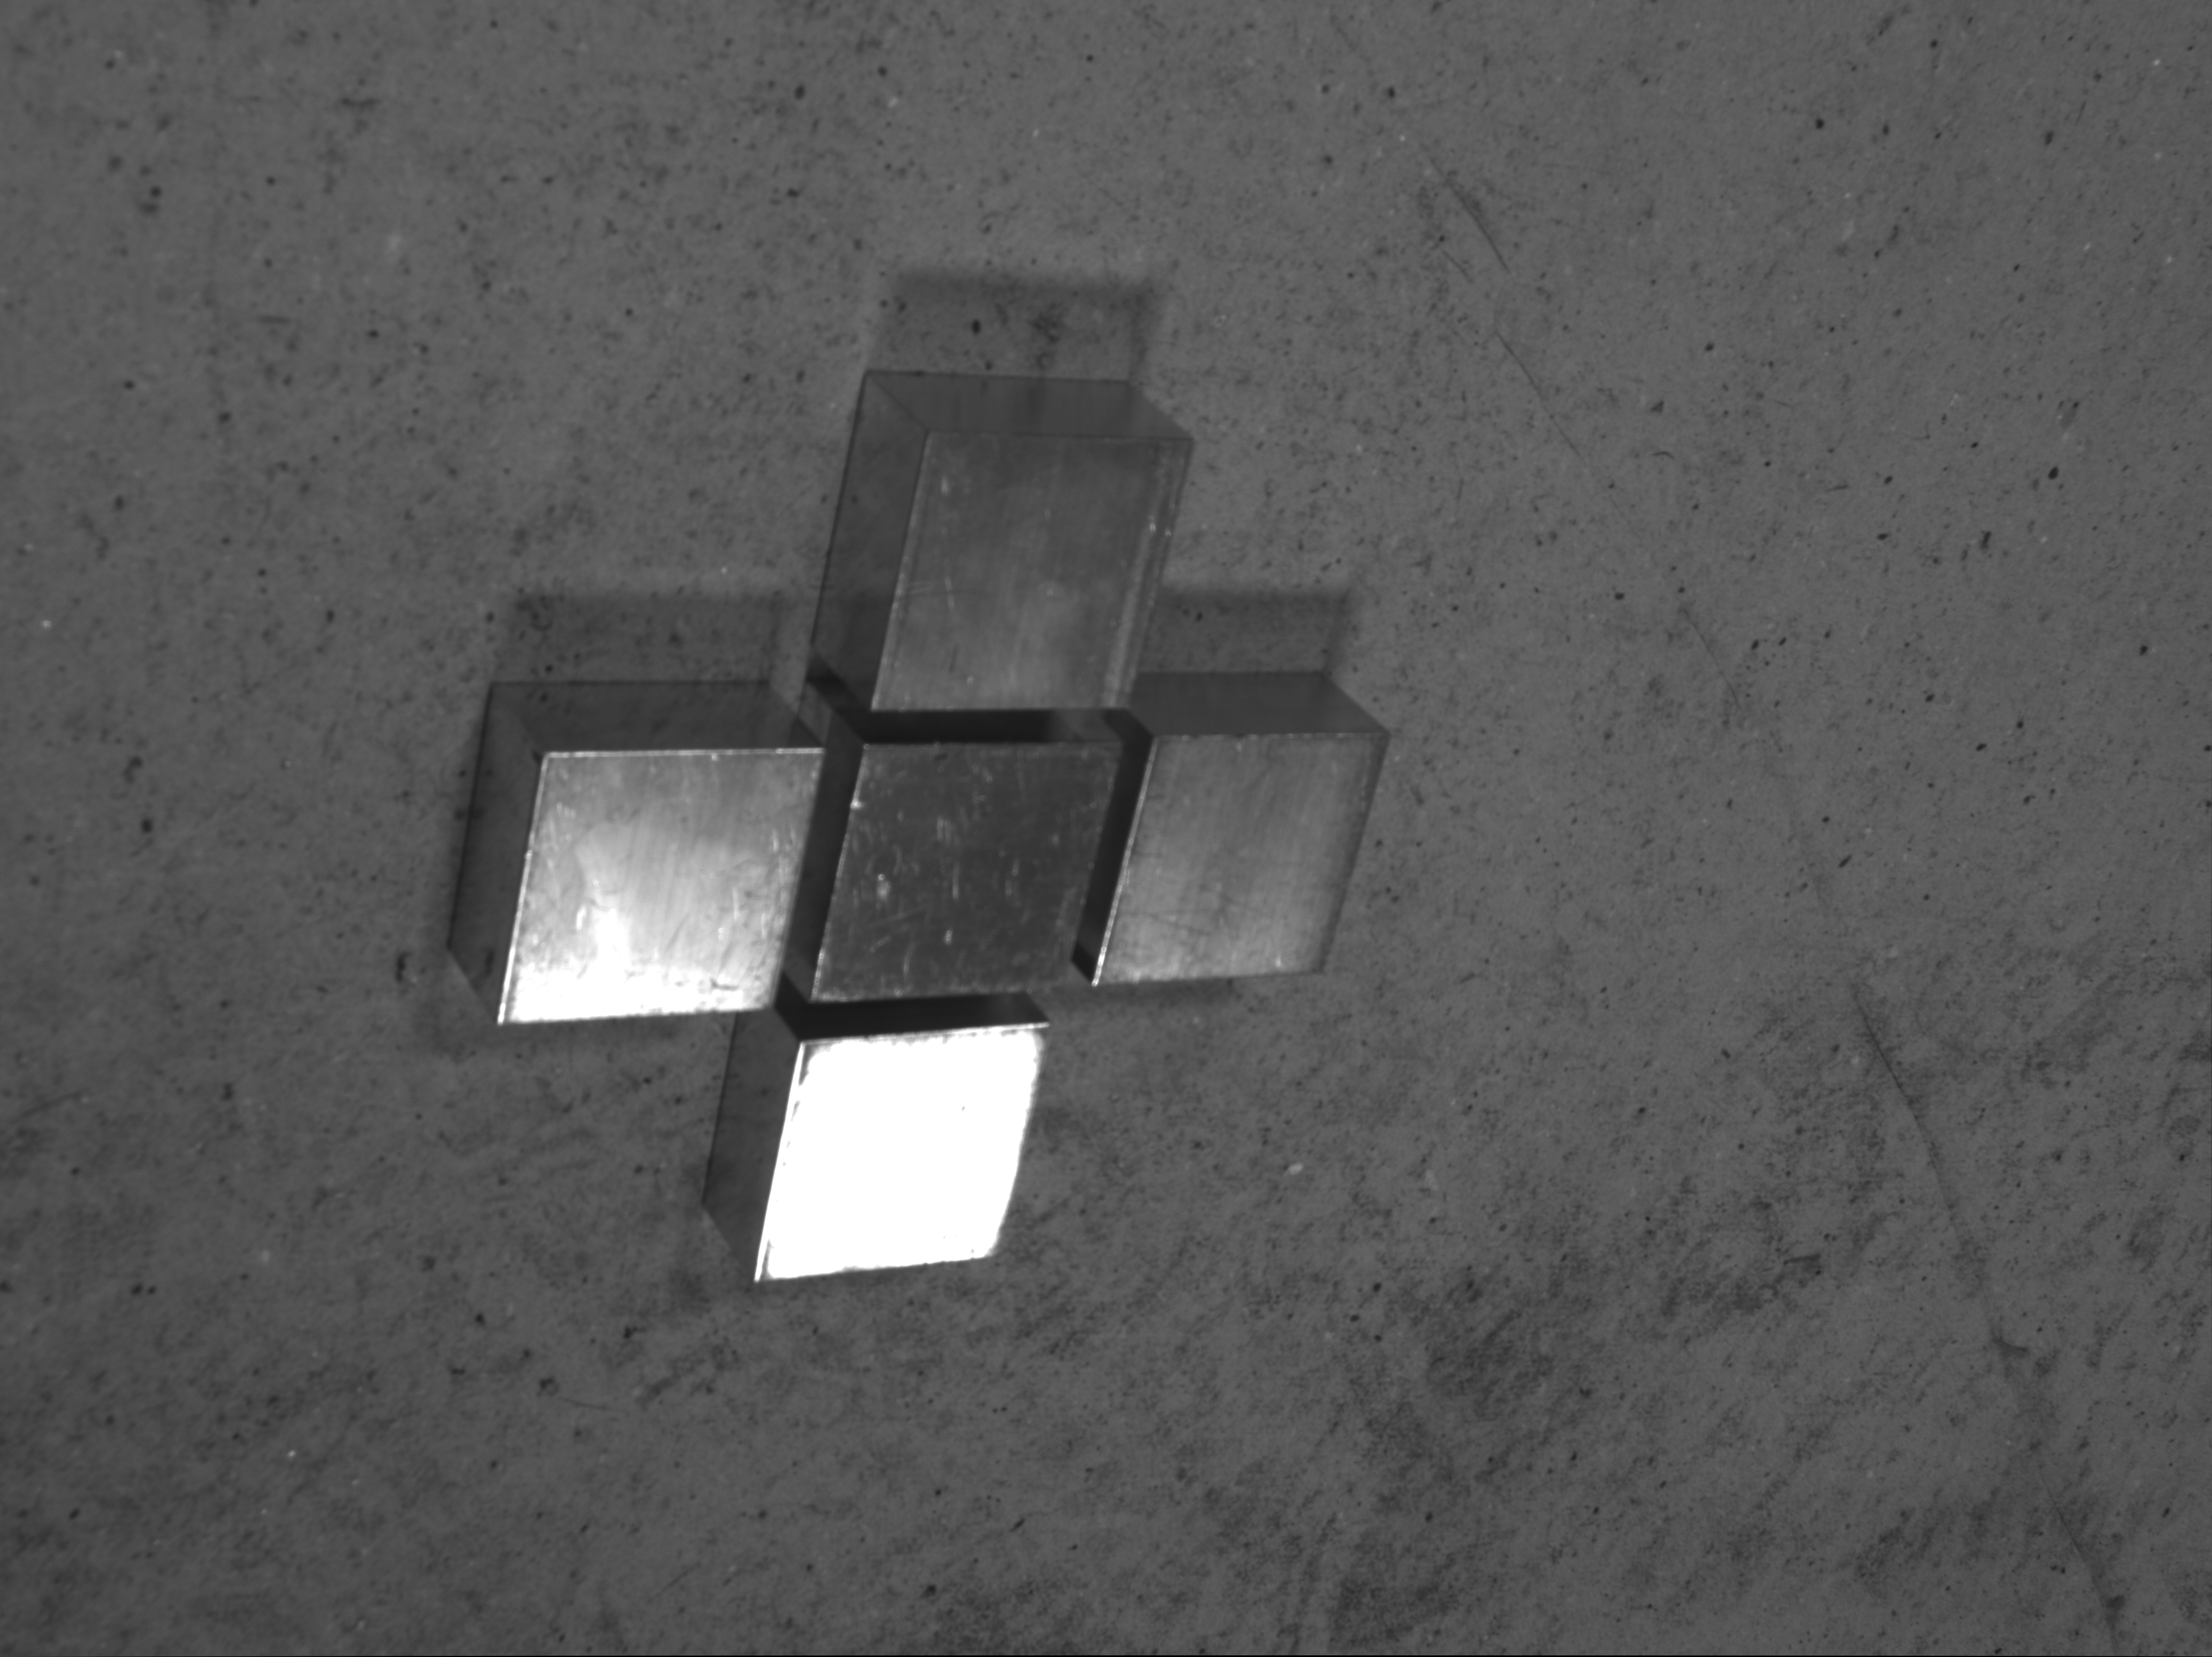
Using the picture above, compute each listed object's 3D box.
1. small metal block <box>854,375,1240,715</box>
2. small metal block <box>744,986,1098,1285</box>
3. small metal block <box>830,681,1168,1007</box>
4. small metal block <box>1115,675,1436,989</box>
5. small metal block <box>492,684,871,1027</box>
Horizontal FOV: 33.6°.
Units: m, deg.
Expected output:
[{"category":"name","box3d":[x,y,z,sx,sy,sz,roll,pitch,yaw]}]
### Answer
[{"category":"small metal block","box3d":[-0.010,-0.047,0.616,0.050,0.025,0.050,-2,119,-29]},{"category":"small metal block","box3d":[-0.034,0.053,0.664,0.050,0.025,0.050,-2,119,-29]},{"category":"small metal block","box3d":[-0.022,0.002,0.640,0.050,0.025,0.050,-2,119,-29]},{"category":"small metal block","box3d":[0.027,0.000,0.667,0.050,0.025,0.050,-2,119,-29]},{"category":"small metal block","box3d":[-0.071,0.004,0.612,0.050,0.025,0.050,-2,119,-29]}]
